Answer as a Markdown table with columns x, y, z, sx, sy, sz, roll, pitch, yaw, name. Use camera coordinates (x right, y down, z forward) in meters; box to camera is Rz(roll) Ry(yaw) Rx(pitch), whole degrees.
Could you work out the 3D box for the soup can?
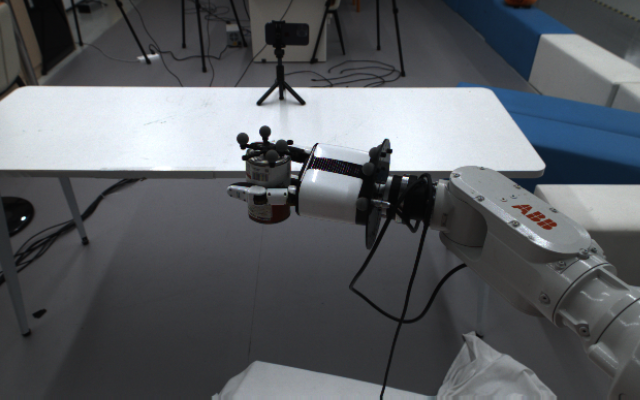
| x | y | z | sx | sy | sz | roll | pitch | yaw | name |
| --- | --- | --- | --- | --- | --- | --- | --- | --- | --- |
| -0.075 | -0.023 | 0.720 | 0.067 | 0.101 | 0.067 | 2 | 32 | -1 | soup can |
